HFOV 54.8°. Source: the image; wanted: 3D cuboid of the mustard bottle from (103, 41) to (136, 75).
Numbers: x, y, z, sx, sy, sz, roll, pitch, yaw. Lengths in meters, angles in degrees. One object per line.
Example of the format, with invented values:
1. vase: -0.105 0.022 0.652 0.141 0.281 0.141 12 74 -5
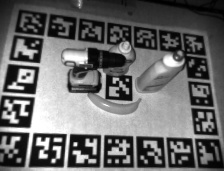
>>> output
1. mustard bottle: 0.030 -0.096 0.734 0.097 0.191 0.058 5 71 -11

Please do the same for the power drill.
1. power drill: -0.069 -0.053 0.677 0.186 0.186 0.057 2 65 -14

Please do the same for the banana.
1. banana: 0.017 0.063 0.759 0.198 0.039 0.074 7 75 -9

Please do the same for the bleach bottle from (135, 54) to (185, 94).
1. bleach bottle: 0.159 -0.037 0.722 0.103 0.250 0.067 -4 74 -13
